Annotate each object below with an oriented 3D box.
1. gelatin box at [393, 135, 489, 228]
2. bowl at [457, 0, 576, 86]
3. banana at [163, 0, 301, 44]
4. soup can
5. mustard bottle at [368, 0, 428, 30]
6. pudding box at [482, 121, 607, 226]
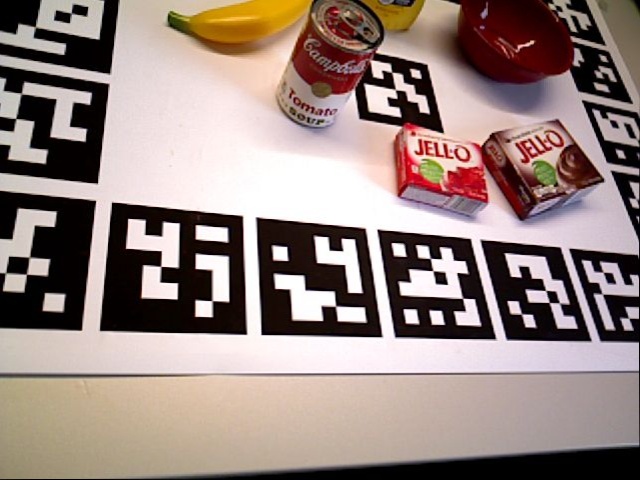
[{"bbox_3d":[0.116,-0.057,0.526,0.088,0.031,0.072,10,63,-17],"label":"gelatin box"},{"bbox_3d":[0.226,-0.242,0.663,0.160,0.056,0.159,9,59,-16],"label":"bowl"},{"bbox_3d":[-0.065,-0.241,0.546,0.074,0.040,0.193,34,54,10],"label":"banana"},{"bbox_3d":[0.001,-0.159,0.478,0.067,0.104,0.067,12,57,-19],"label":"soup can"},{"bbox_3d":[0.097,-0.309,0.543,0.095,0.196,0.058,4,58,-21],"label":"mustard bottle"},{"bbox_3d":[0.240,-0.074,0.582,0.111,0.039,0.090,-21,78,-30],"label":"pudding box"}]
